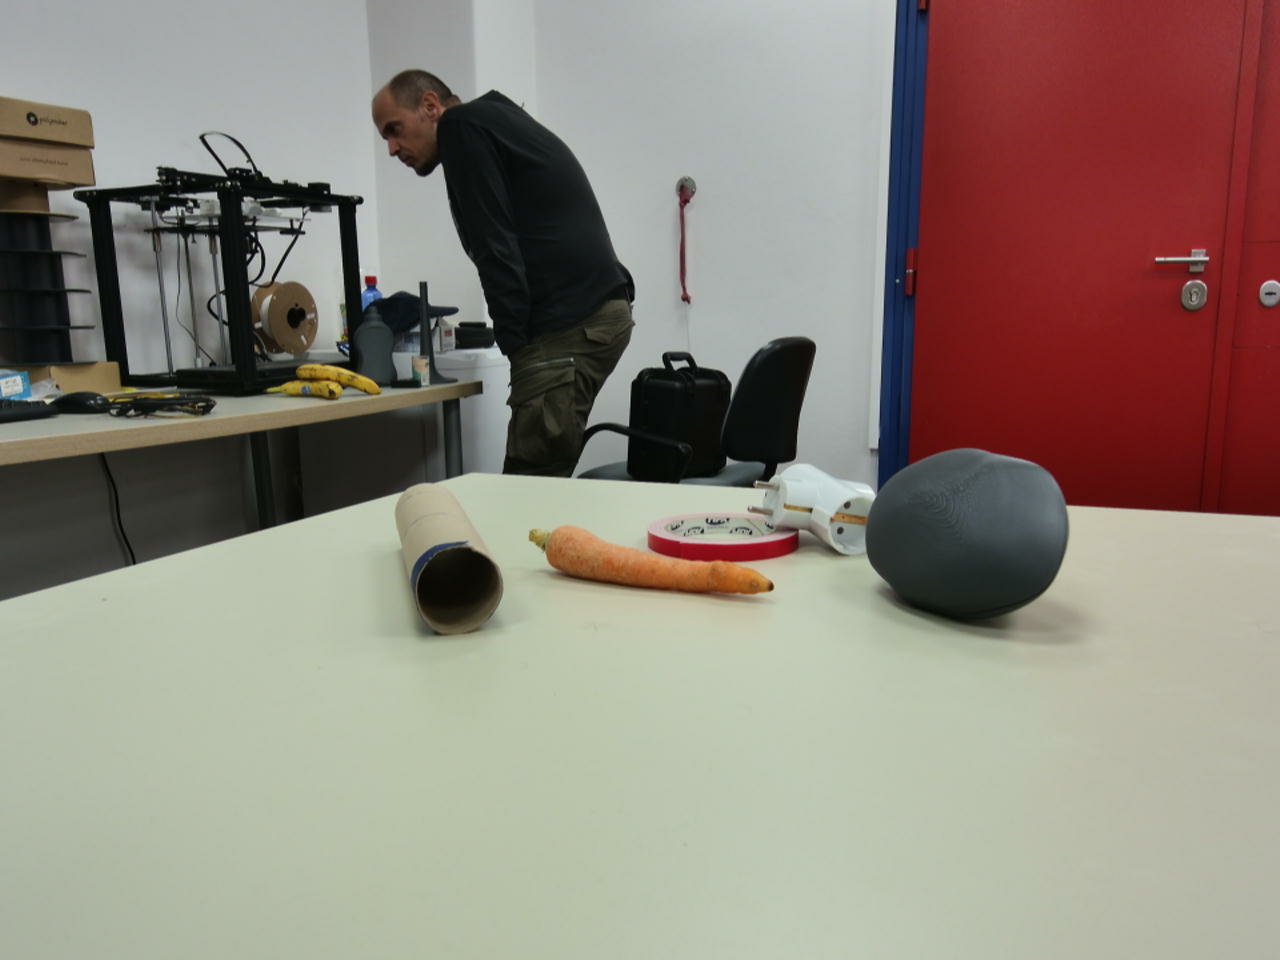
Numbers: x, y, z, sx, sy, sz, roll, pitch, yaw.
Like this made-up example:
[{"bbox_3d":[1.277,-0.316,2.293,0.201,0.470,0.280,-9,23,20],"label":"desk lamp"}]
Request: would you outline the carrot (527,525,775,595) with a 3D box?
[{"bbox_3d":[0.001,0.049,0.614,0.173,0.032,0.030,5,8,32],"label":"carrot"}]
